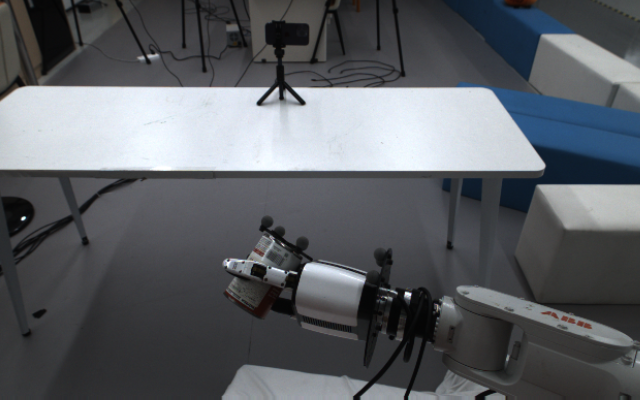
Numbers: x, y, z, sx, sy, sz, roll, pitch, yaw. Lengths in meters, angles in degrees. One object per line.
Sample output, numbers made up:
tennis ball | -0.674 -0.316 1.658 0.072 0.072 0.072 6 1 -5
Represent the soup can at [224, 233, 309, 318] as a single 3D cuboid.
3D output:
soup can | -0.077 0.107 0.676 0.067 0.067 0.101 27 78 31
